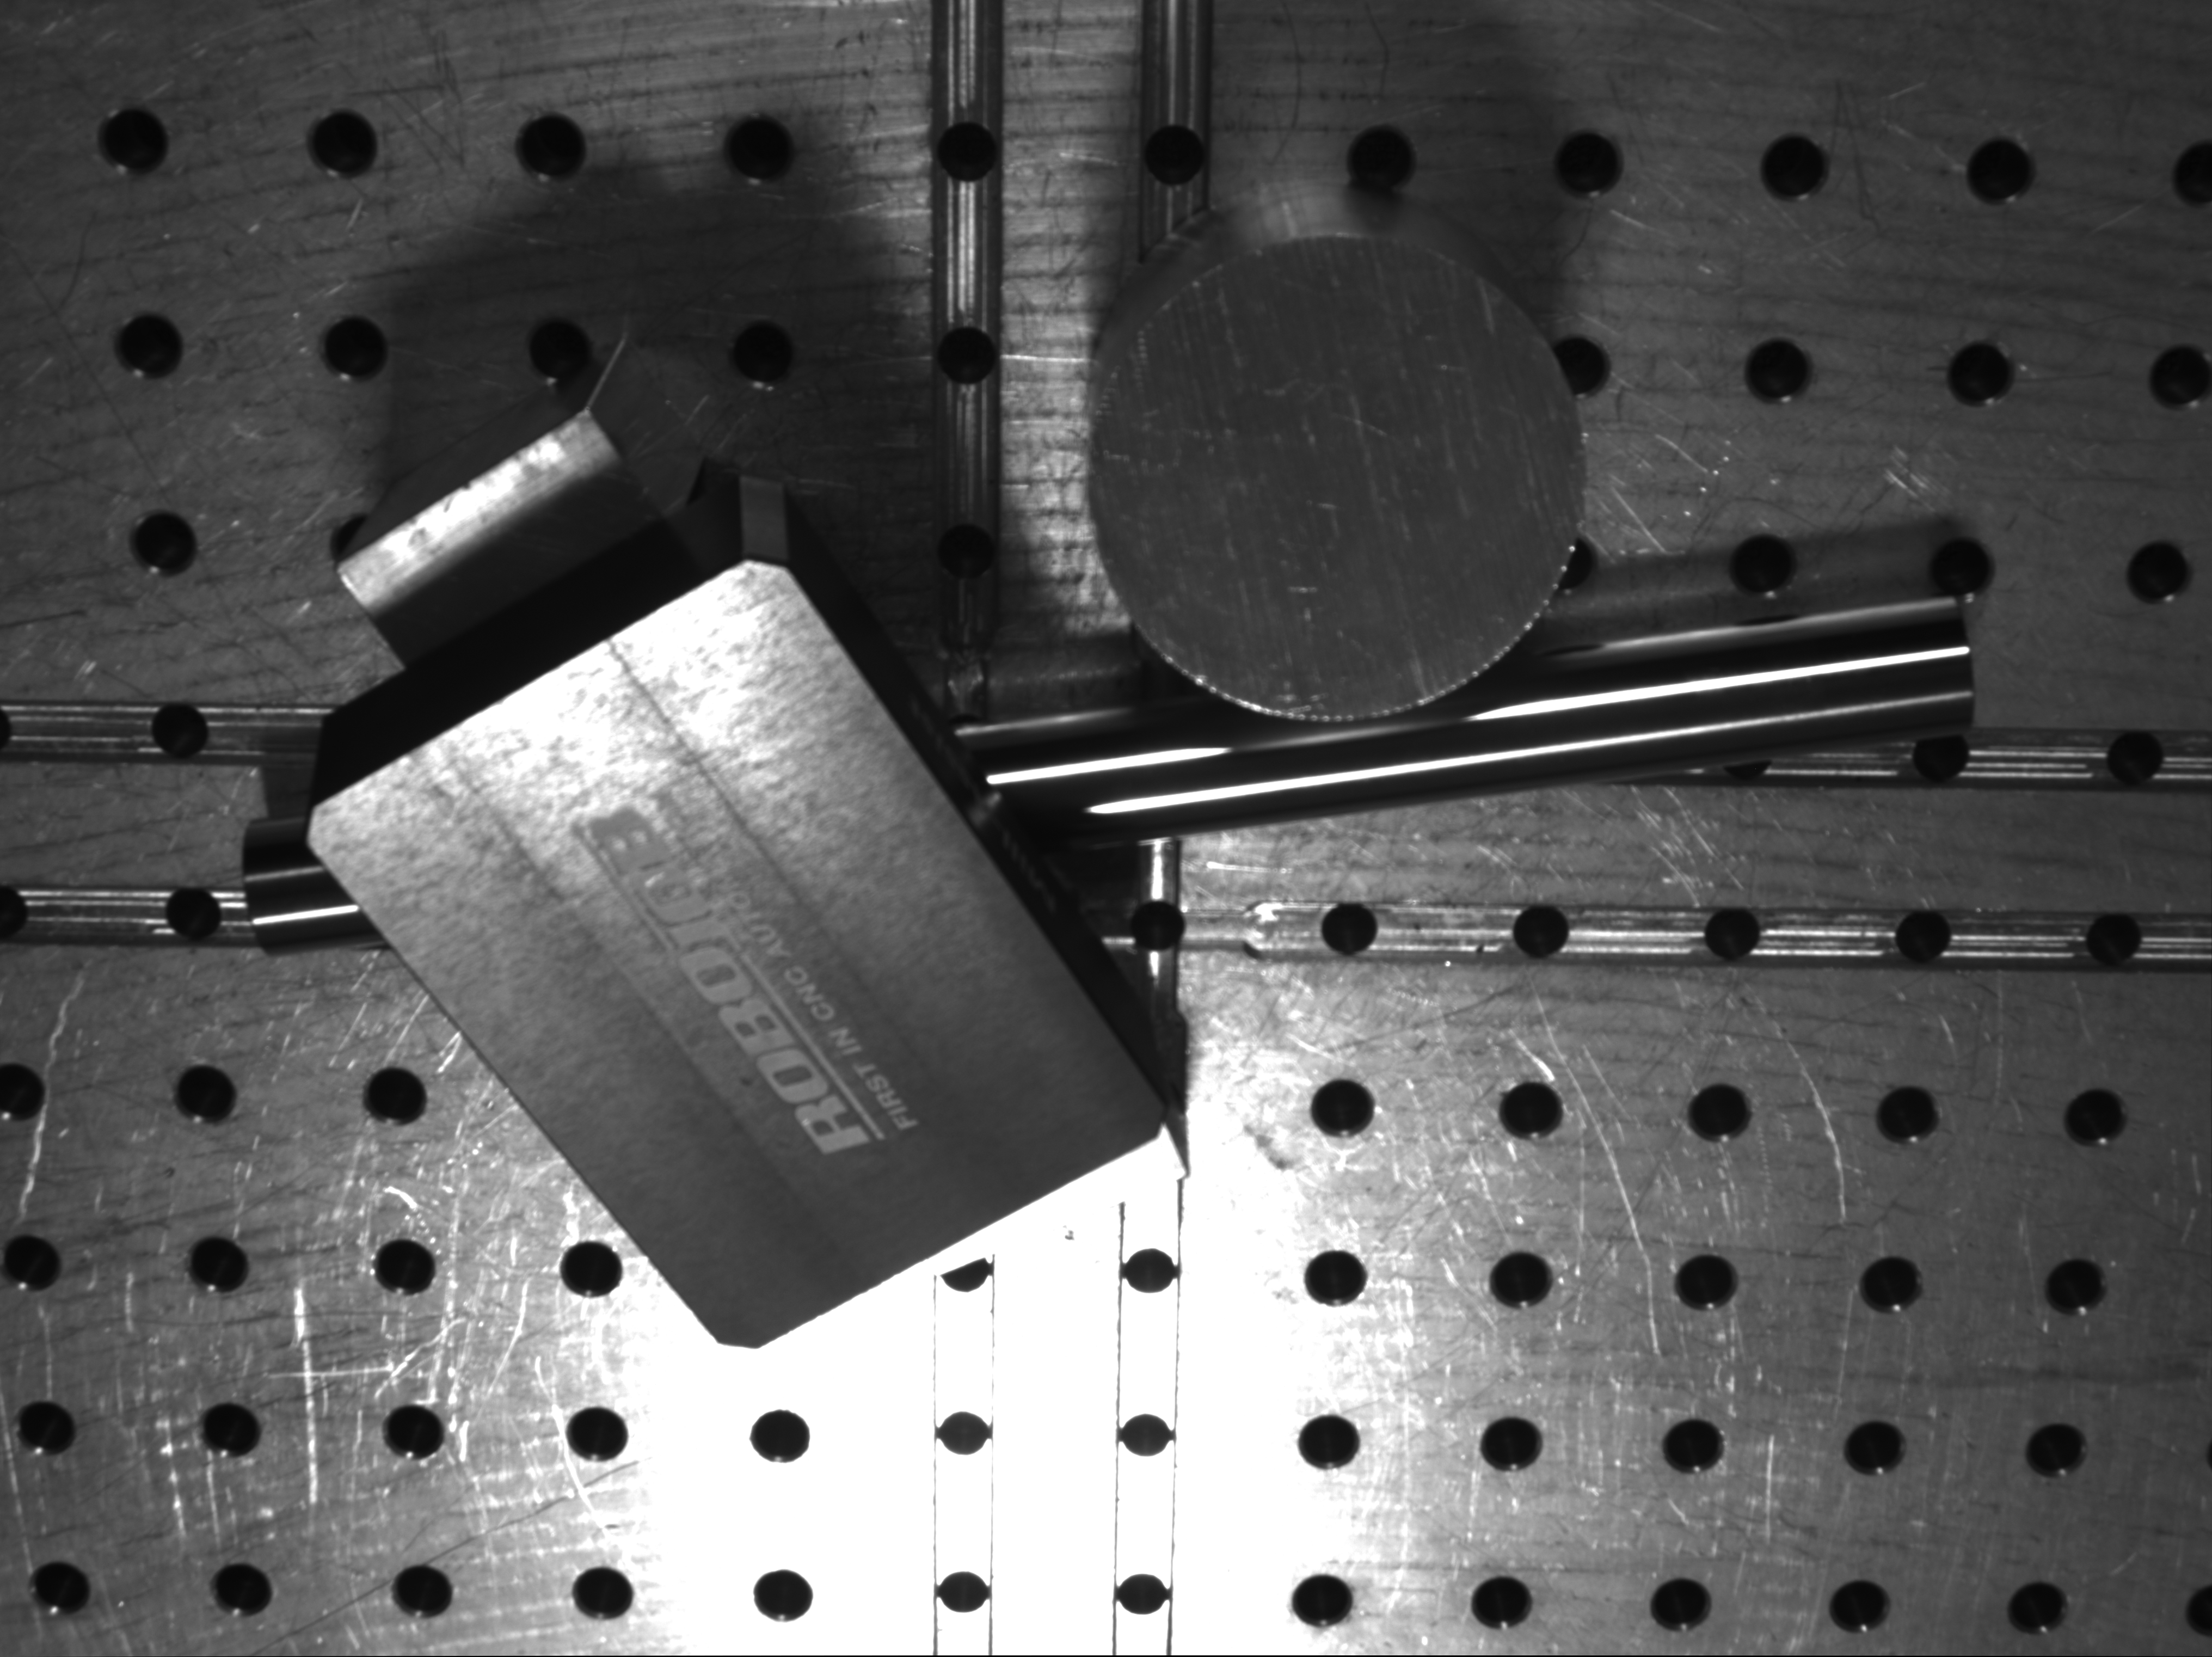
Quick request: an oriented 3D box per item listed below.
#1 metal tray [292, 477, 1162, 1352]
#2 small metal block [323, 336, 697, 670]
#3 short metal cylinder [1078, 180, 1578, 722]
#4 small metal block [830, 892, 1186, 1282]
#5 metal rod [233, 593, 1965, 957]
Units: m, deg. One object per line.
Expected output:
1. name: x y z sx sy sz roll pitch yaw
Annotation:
1. metal tray: -0.061 0.017 0.607 0.090 0.030 0.130 -29 119 10
2. small metal block: -0.098 -0.053 0.611 0.050 0.050 0.025 -30 107 10
3. short metal cylinder: 0.035 -0.063 0.609 0.080 0.050 0.080 0 110 -1
4. small metal block: -0.019 0.047 0.661 0.050 0.025 0.050 -22 109 7
5. metal rod: -0.002 -0.009 0.642 0.300 0.025 0.025 -8 110 2
